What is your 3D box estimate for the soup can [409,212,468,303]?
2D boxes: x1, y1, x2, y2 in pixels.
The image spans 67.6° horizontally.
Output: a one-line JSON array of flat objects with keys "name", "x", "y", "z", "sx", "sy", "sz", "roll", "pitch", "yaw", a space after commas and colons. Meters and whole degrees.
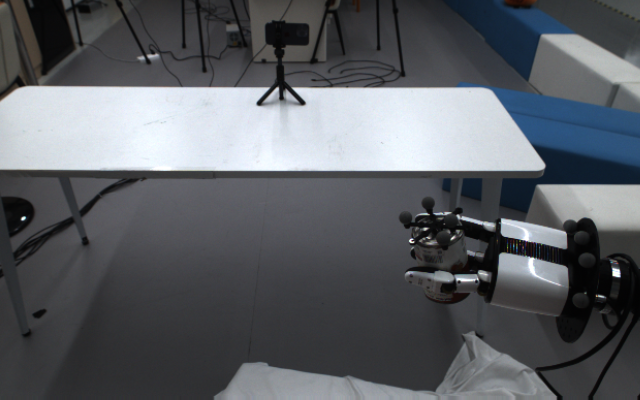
[{"name": "soup can", "x": 0.165, "y": 0.077, "z": 0.646, "sx": 0.067, "sy": 0.101, "sz": 0.067, "roll": -13, "pitch": 31, "yaw": 8}]
